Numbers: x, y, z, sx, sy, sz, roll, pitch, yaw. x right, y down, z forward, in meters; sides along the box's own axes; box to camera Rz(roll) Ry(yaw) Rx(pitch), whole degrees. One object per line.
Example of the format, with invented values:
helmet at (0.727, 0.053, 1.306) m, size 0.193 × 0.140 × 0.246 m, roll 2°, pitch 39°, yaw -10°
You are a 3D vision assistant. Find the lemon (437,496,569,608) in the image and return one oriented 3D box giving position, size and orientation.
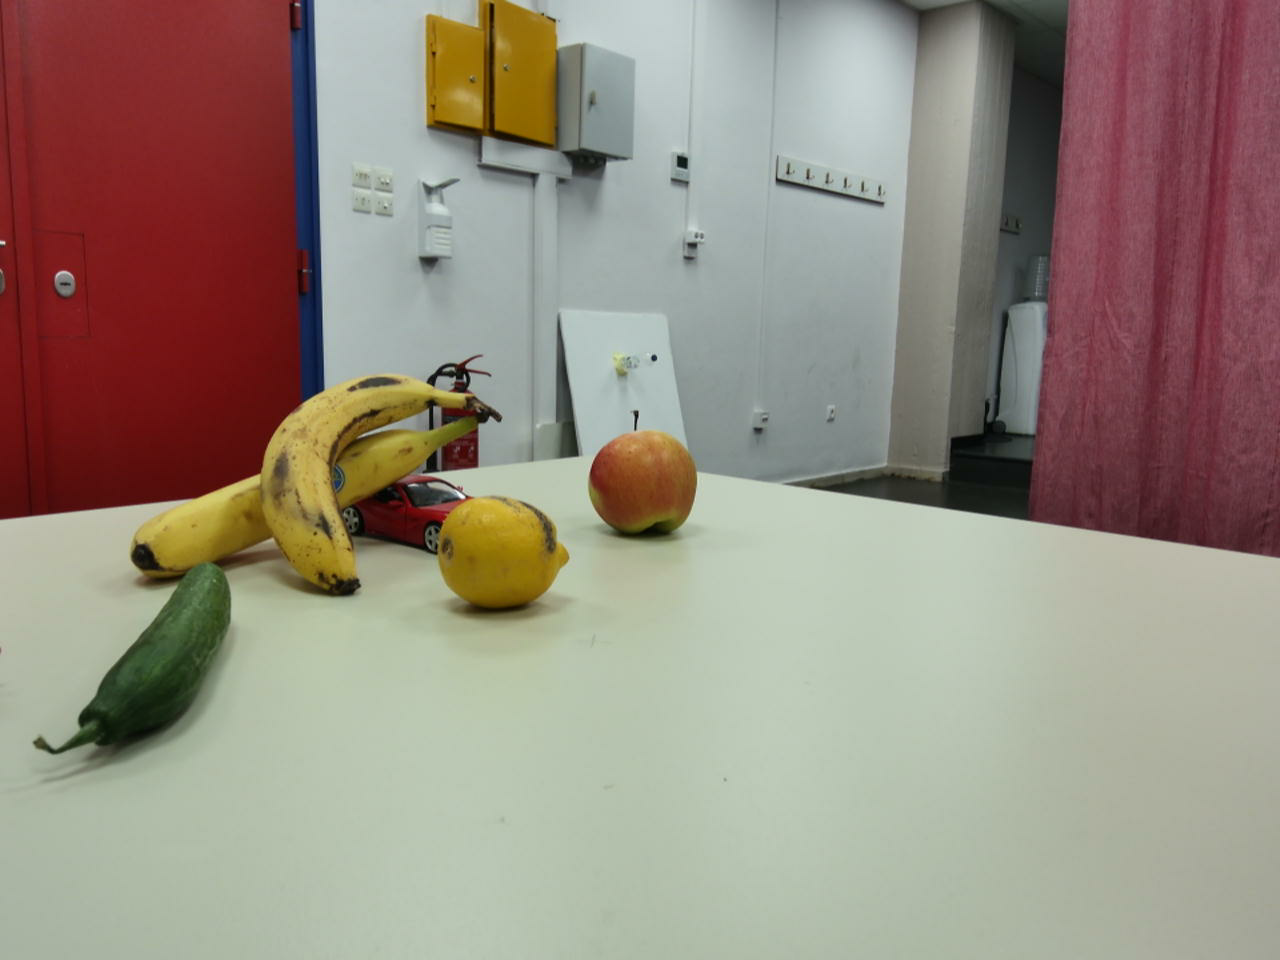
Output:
lemon at (-0.071, 0.036, 0.505) m, size 0.058 × 0.056 × 0.061 m, roll 5°, pitch 8°, yaw 33°
